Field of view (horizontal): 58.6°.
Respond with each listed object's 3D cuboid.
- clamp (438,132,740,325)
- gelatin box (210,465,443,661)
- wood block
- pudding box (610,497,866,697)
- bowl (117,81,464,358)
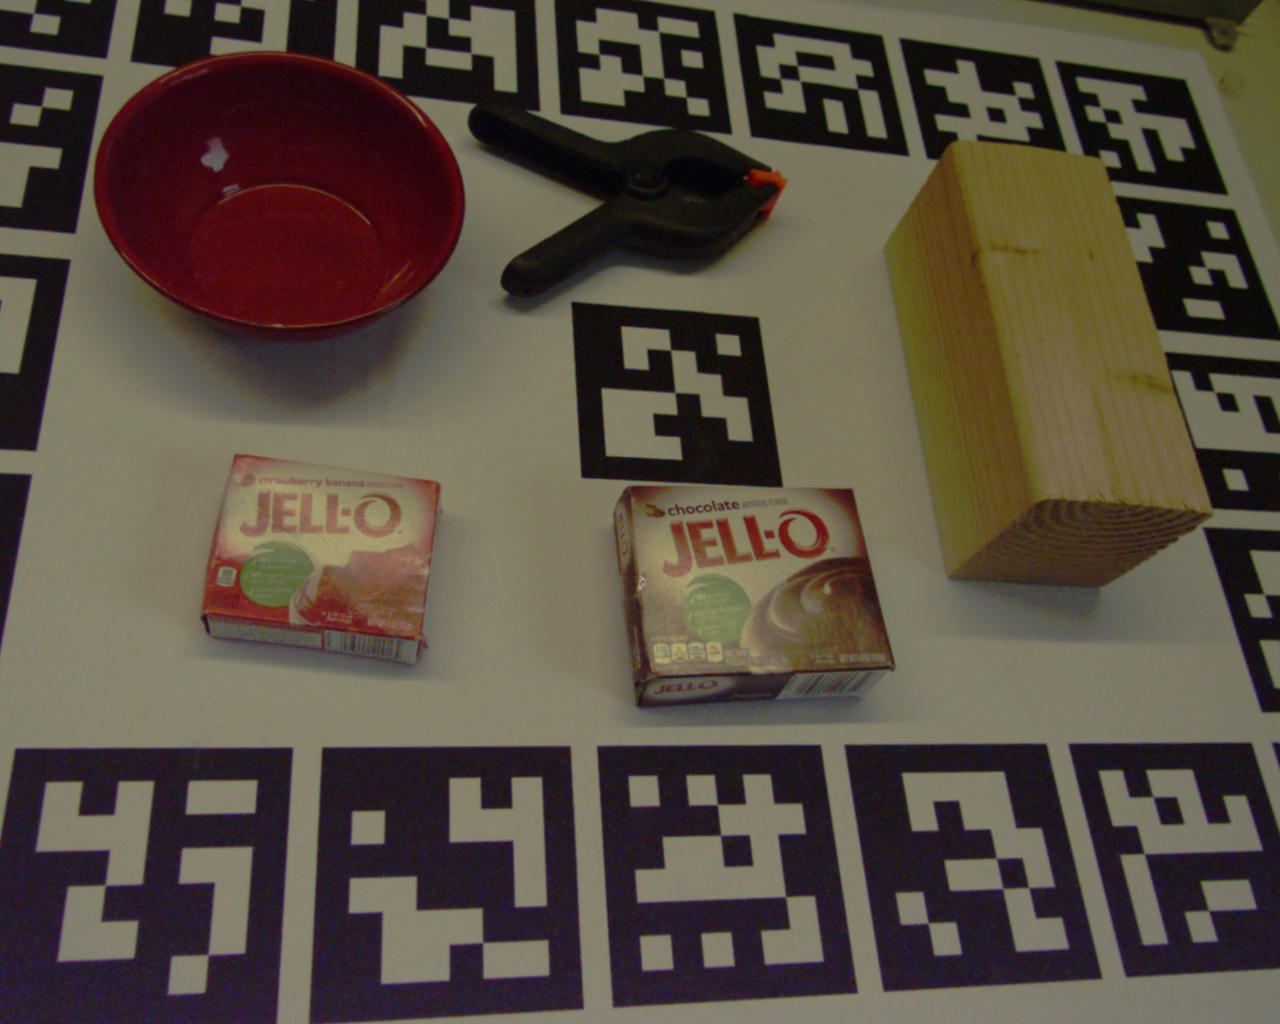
[{"bbox_3d":[-0.022,-0.162,0.637,0.163,0.037,0.122,-7,66,-20],"label":"clamp"},{"bbox_3d":[-0.138,0.022,0.509,0.089,0.030,0.073,10,64,-10],"label":"gelatin box"},{"bbox_3d":[0.196,-0.068,0.606,0.089,0.091,0.207,5,64,-14],"label":"wood block"},{"bbox_3d":[0.044,0.041,0.544,0.113,0.039,0.090,1,68,-12],"label":"pudding box"},{"bbox_3d":[-0.172,-0.136,0.572,0.160,0.055,0.162,5,66,-13],"label":"bowl"}]
